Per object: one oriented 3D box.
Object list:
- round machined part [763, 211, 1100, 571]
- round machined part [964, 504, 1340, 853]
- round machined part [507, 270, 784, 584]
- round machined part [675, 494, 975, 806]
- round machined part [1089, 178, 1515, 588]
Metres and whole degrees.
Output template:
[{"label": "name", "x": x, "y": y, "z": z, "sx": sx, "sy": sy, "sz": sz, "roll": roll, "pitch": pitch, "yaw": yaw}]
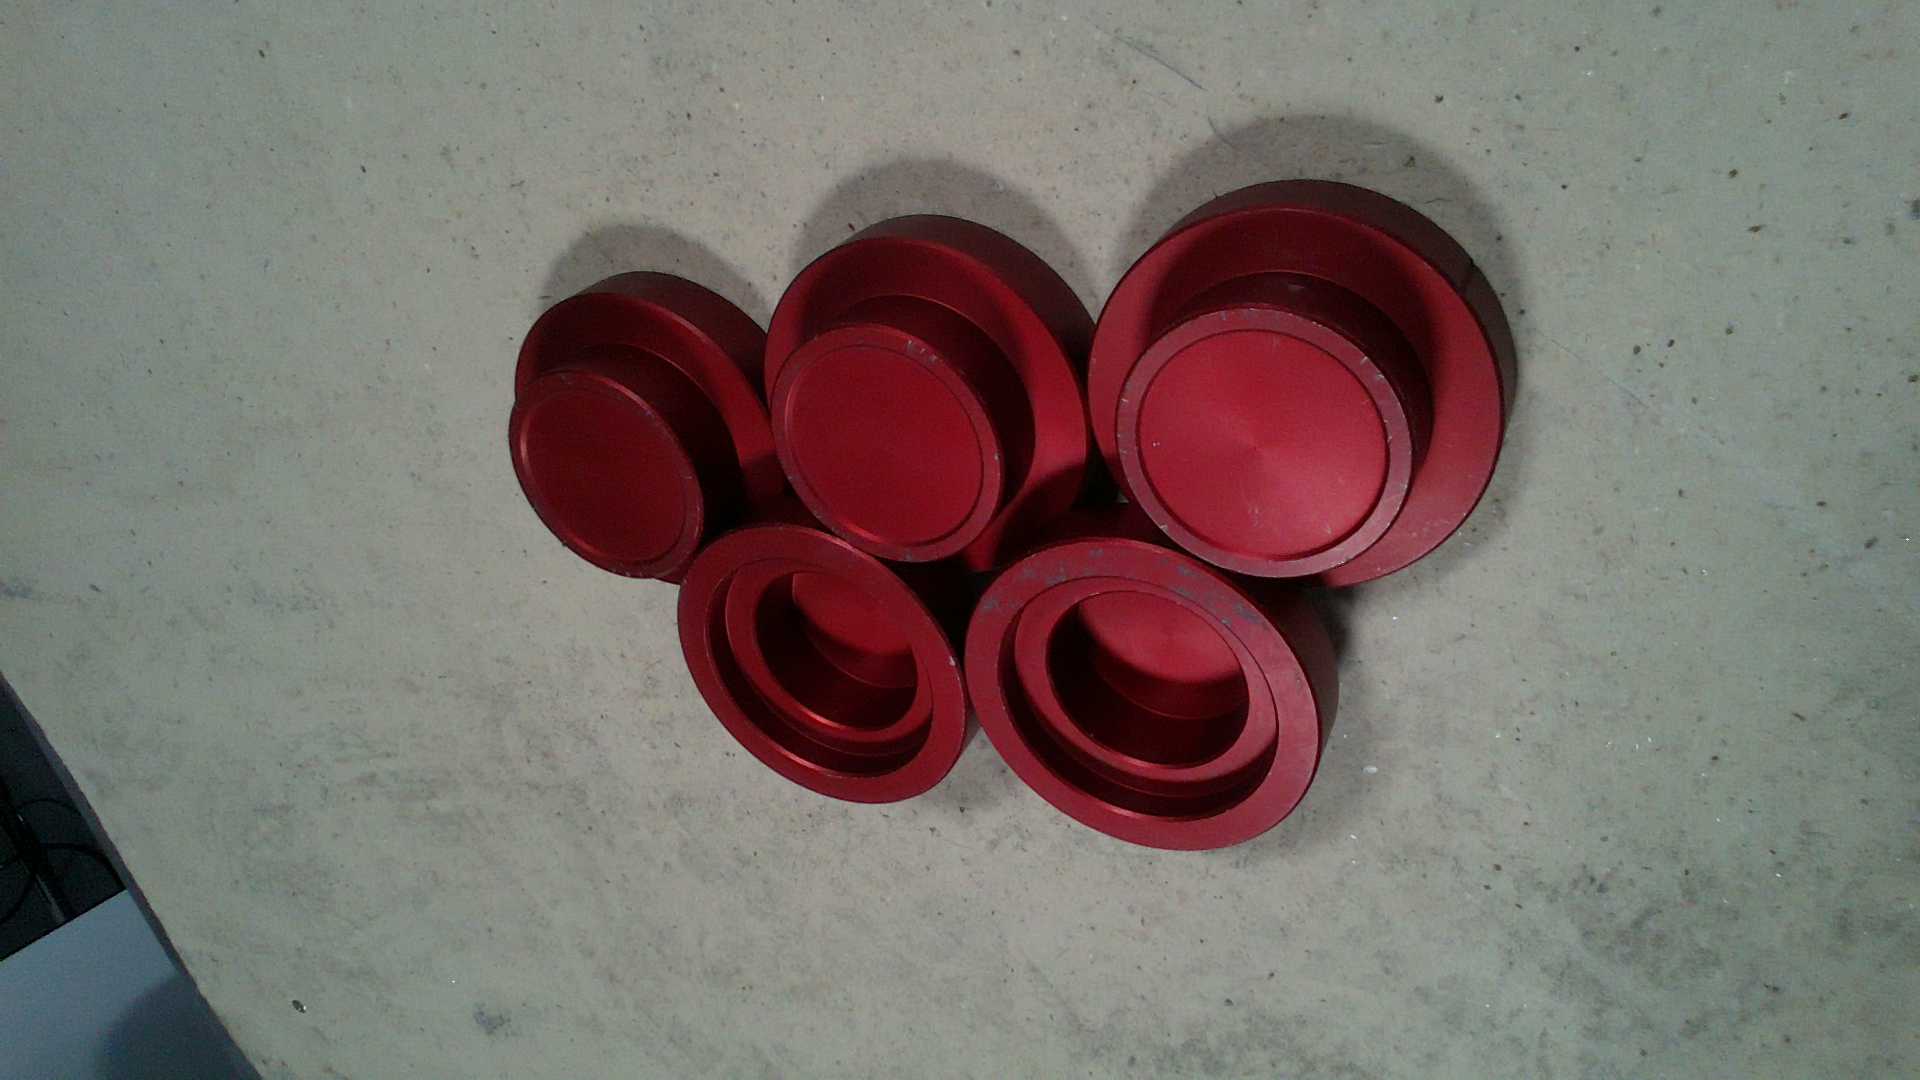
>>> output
[{"label": "round machined part", "x": -0.011, "y": -0.034, "z": 0.367, "sx": 0.098, "sy": 0.042, "sz": 0.098, "roll": 13, "pitch": 124, "yaw": 21}, {"label": "round machined part", "x": 0.054, "y": 0.033, "z": 0.374, "sx": 0.098, "sy": 0.042, "sz": 0.098, "roll": 13, "pitch": 124, "yaw": 21}, {"label": "round machined part", "x": -0.096, "y": -0.028, "z": 0.417, "sx": 0.098, "sy": 0.042, "sz": 0.098, "roll": 13, "pitch": 124, "yaw": 21}, {"label": "round machined part", "x": -0.034, "y": 0.029, "z": 0.418, "sx": 0.098, "sy": 0.042, "sz": 0.098, "roll": 13, "pitch": 124, "yaw": 21}, {"label": "round machined part", "x": 0.076, "y": -0.031, "z": 0.323, "sx": 0.098, "sy": 0.042, "sz": 0.098, "roll": 13, "pitch": 124, "yaw": 21}]
